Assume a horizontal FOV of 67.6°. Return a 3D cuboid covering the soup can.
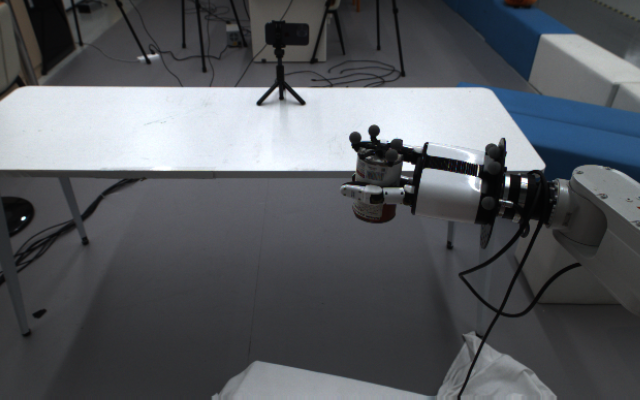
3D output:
[{"bbox_3d":[0.085,-0.025,0.720,0.067,0.101,0.067,2,32,-1],"label":"soup can"}]
